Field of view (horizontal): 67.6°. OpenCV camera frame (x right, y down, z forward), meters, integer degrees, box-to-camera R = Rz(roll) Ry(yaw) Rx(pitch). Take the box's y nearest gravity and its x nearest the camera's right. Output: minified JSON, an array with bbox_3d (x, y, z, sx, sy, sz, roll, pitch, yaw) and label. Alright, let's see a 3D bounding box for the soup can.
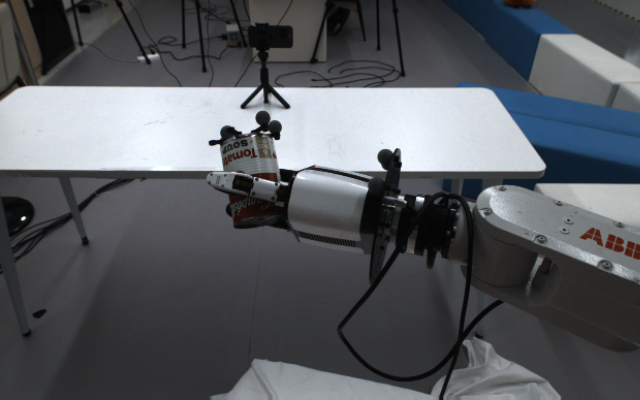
[{"bbox_3d":[-0.079,-0.021,0.587,0.067,0.067,0.101,-10,79,-17],"label":"soup can"}]
